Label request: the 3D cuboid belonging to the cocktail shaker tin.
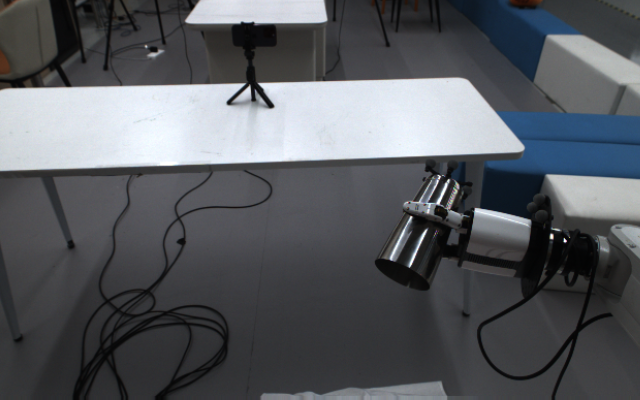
[{"bbox_3d":[0.166,0.041,0.761,0.093,0.093,0.170,20,67,23],"label":"cocktail shaker tin"}]
